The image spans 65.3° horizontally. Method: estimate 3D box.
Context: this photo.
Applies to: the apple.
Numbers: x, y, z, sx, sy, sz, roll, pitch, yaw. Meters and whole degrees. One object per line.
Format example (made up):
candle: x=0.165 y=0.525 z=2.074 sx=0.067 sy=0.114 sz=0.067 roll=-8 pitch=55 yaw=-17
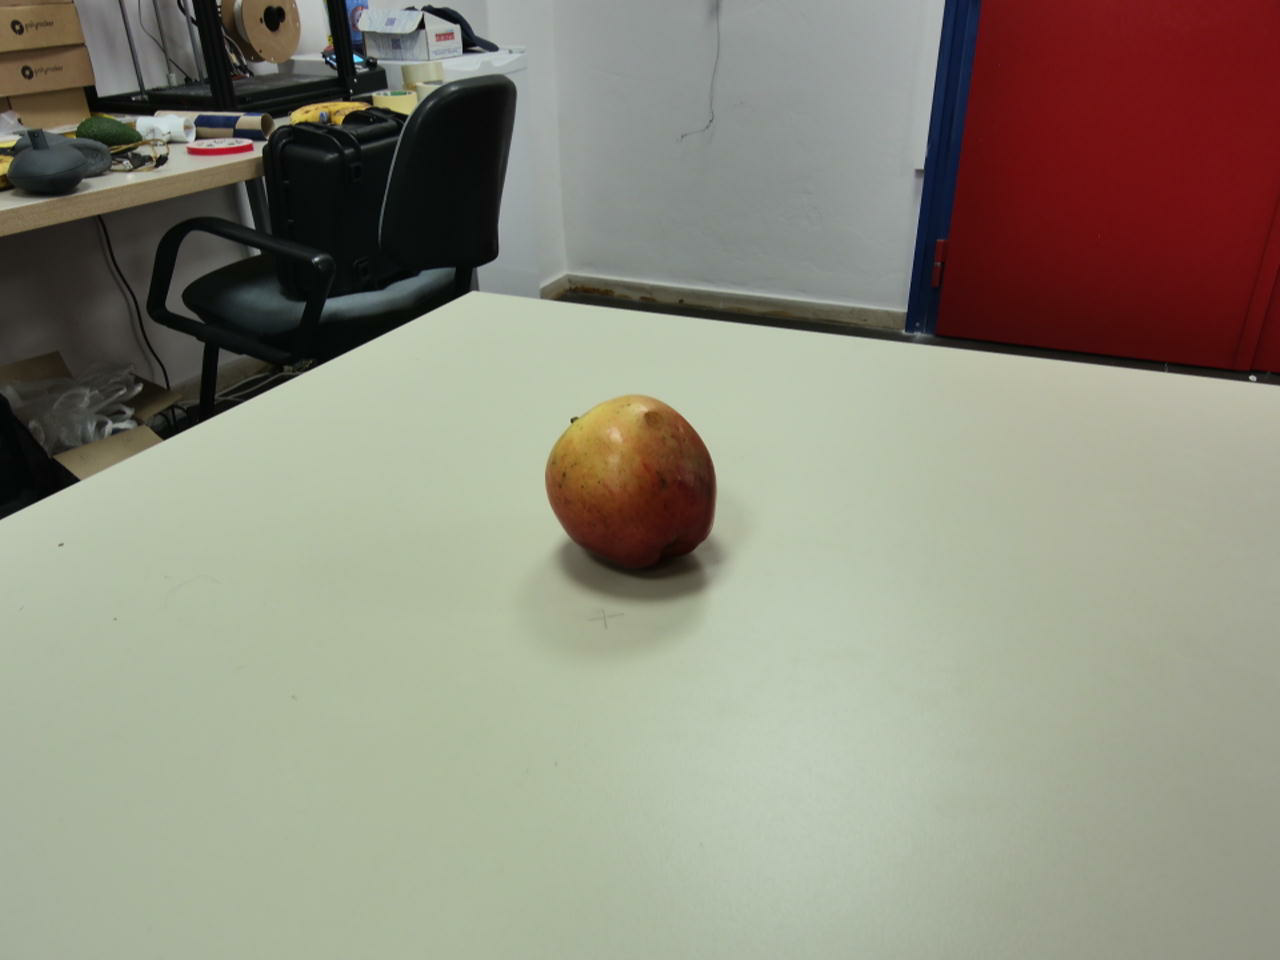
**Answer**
apple: x=-0.005 y=0.000 z=0.514 sx=0.086 sy=0.084 sz=0.093 roll=-5 pitch=25 yaw=-10
